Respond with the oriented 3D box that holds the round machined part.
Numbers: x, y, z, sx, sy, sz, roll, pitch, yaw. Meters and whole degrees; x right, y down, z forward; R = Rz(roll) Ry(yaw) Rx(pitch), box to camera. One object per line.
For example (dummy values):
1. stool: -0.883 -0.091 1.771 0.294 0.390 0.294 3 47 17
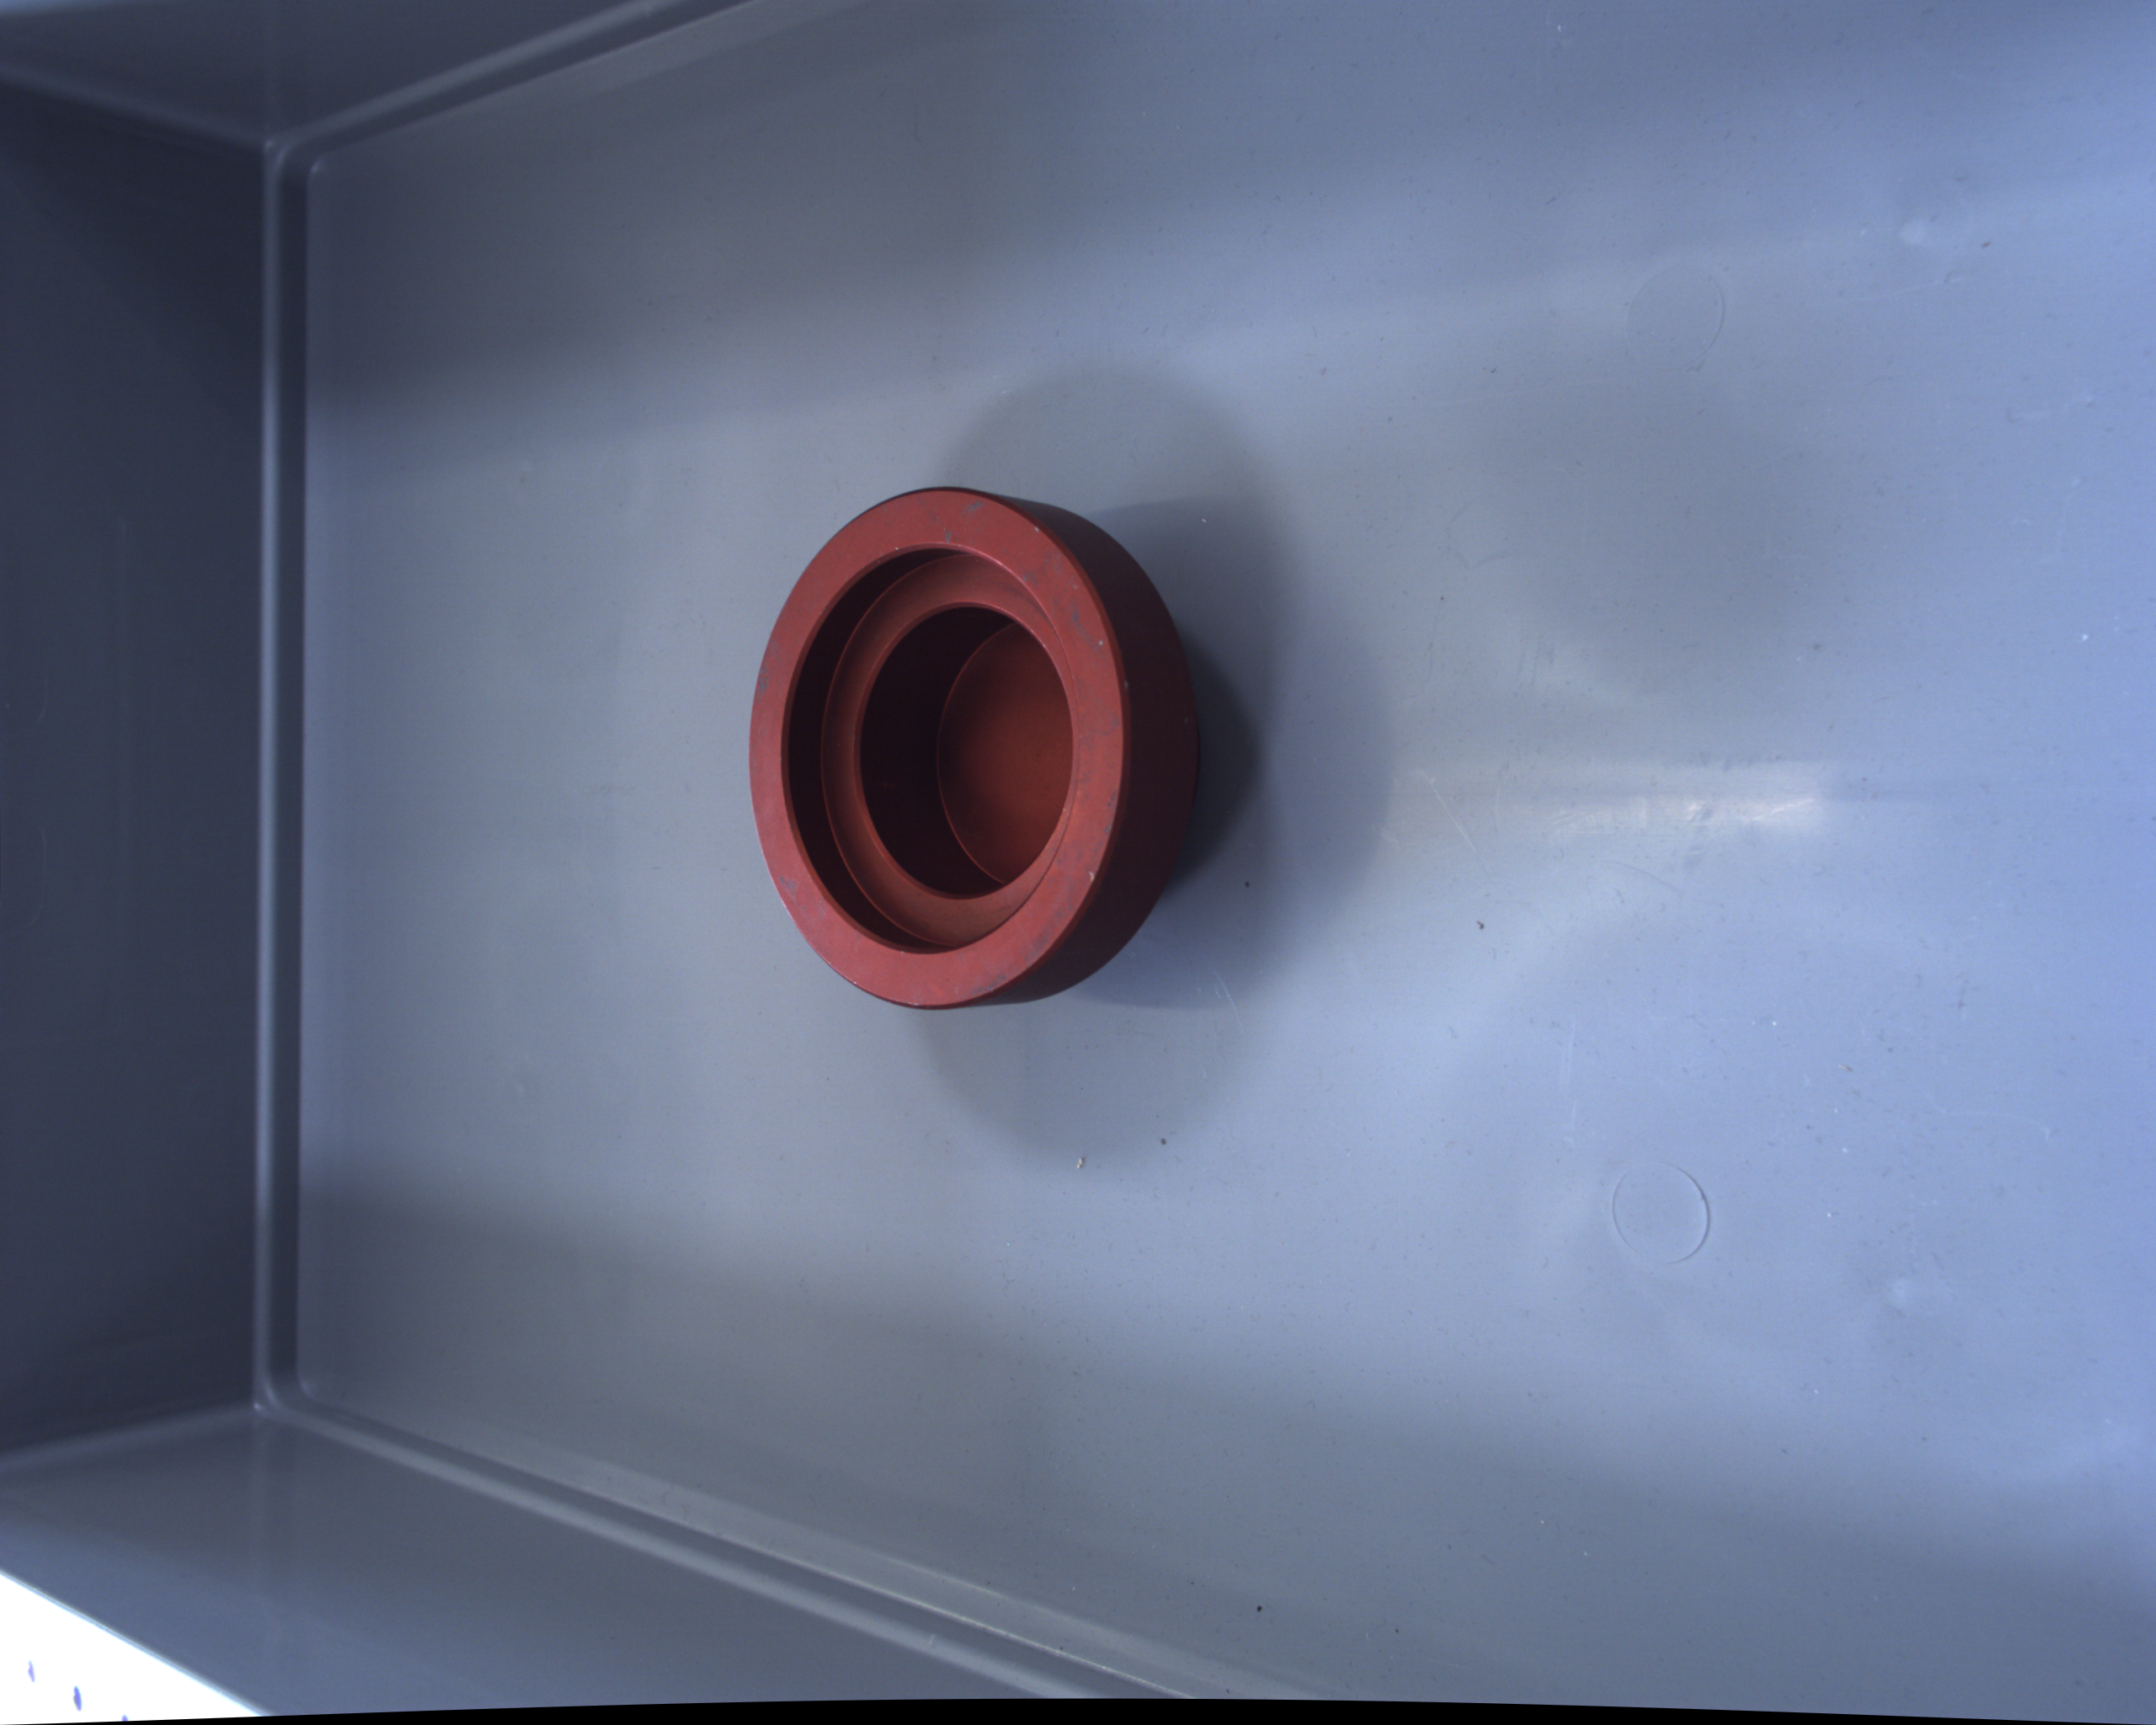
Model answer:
1. round machined part: -0.016 -0.021 0.406 0.098 0.042 0.097 0 90 40
